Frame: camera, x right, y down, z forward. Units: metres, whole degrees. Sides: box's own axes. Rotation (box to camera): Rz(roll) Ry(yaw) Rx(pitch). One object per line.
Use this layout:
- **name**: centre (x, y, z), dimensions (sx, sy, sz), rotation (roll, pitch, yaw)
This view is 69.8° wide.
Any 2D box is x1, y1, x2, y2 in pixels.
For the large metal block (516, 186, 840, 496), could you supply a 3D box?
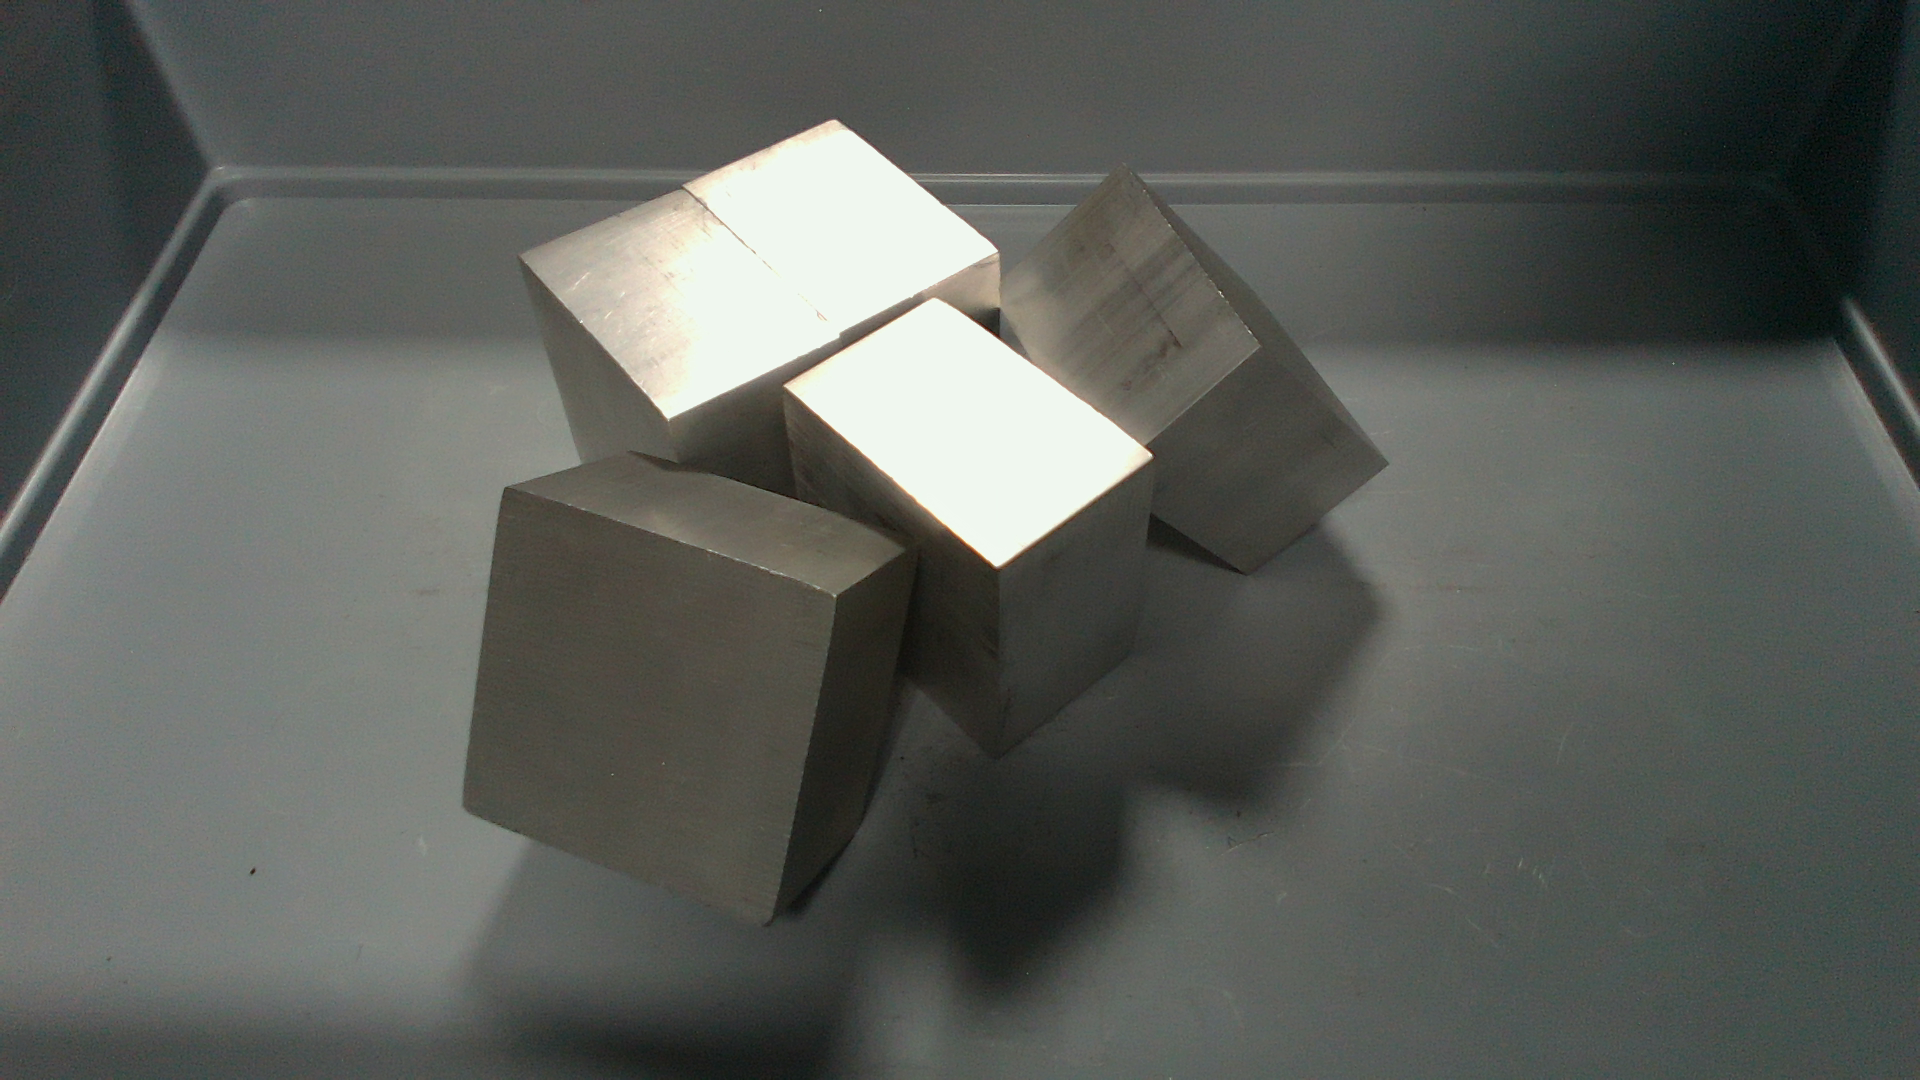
- **large metal block**: centre (-0.074, -0.038, 0.387), dimensions (0.050, 0.080, 0.080), rotation (-30, 56, -23)

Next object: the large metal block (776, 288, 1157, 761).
- **large metal block**: centre (0.001, -0.004, 0.357), dimensions (0.050, 0.080, 0.080), rotation (-34, 58, -25)

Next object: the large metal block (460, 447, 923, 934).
- **large metal block**: centre (-0.062, 0.031, 0.319), dimensions (0.080, 0.080, 0.050), rotation (17, 17, 14)

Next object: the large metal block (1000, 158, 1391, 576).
- **large metal block**: centre (0.064, -0.046, 0.385), dimensions (0.050, 0.080, 0.080), rotation (-41, 50, 19)

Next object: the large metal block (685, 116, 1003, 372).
- **large metal block**: centre (-0.033, -0.064, 0.408), dimensions (0.050, 0.080, 0.080), rotation (-31, 57, -24)
